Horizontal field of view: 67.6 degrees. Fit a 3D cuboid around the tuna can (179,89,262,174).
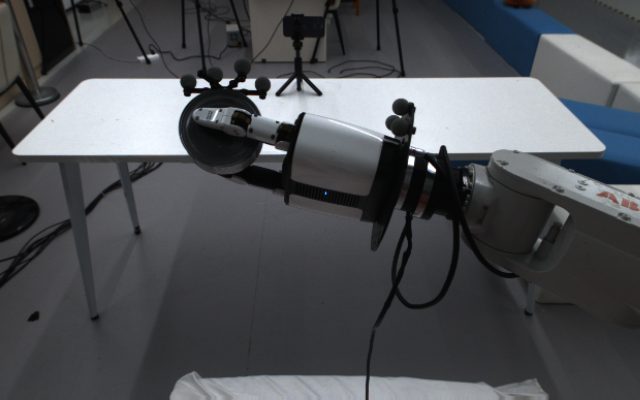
[{"bbox_3d":[-0.100,-0.066,0.507,0.085,0.034,0.085,1,73,-5],"label":"tuna can"}]
